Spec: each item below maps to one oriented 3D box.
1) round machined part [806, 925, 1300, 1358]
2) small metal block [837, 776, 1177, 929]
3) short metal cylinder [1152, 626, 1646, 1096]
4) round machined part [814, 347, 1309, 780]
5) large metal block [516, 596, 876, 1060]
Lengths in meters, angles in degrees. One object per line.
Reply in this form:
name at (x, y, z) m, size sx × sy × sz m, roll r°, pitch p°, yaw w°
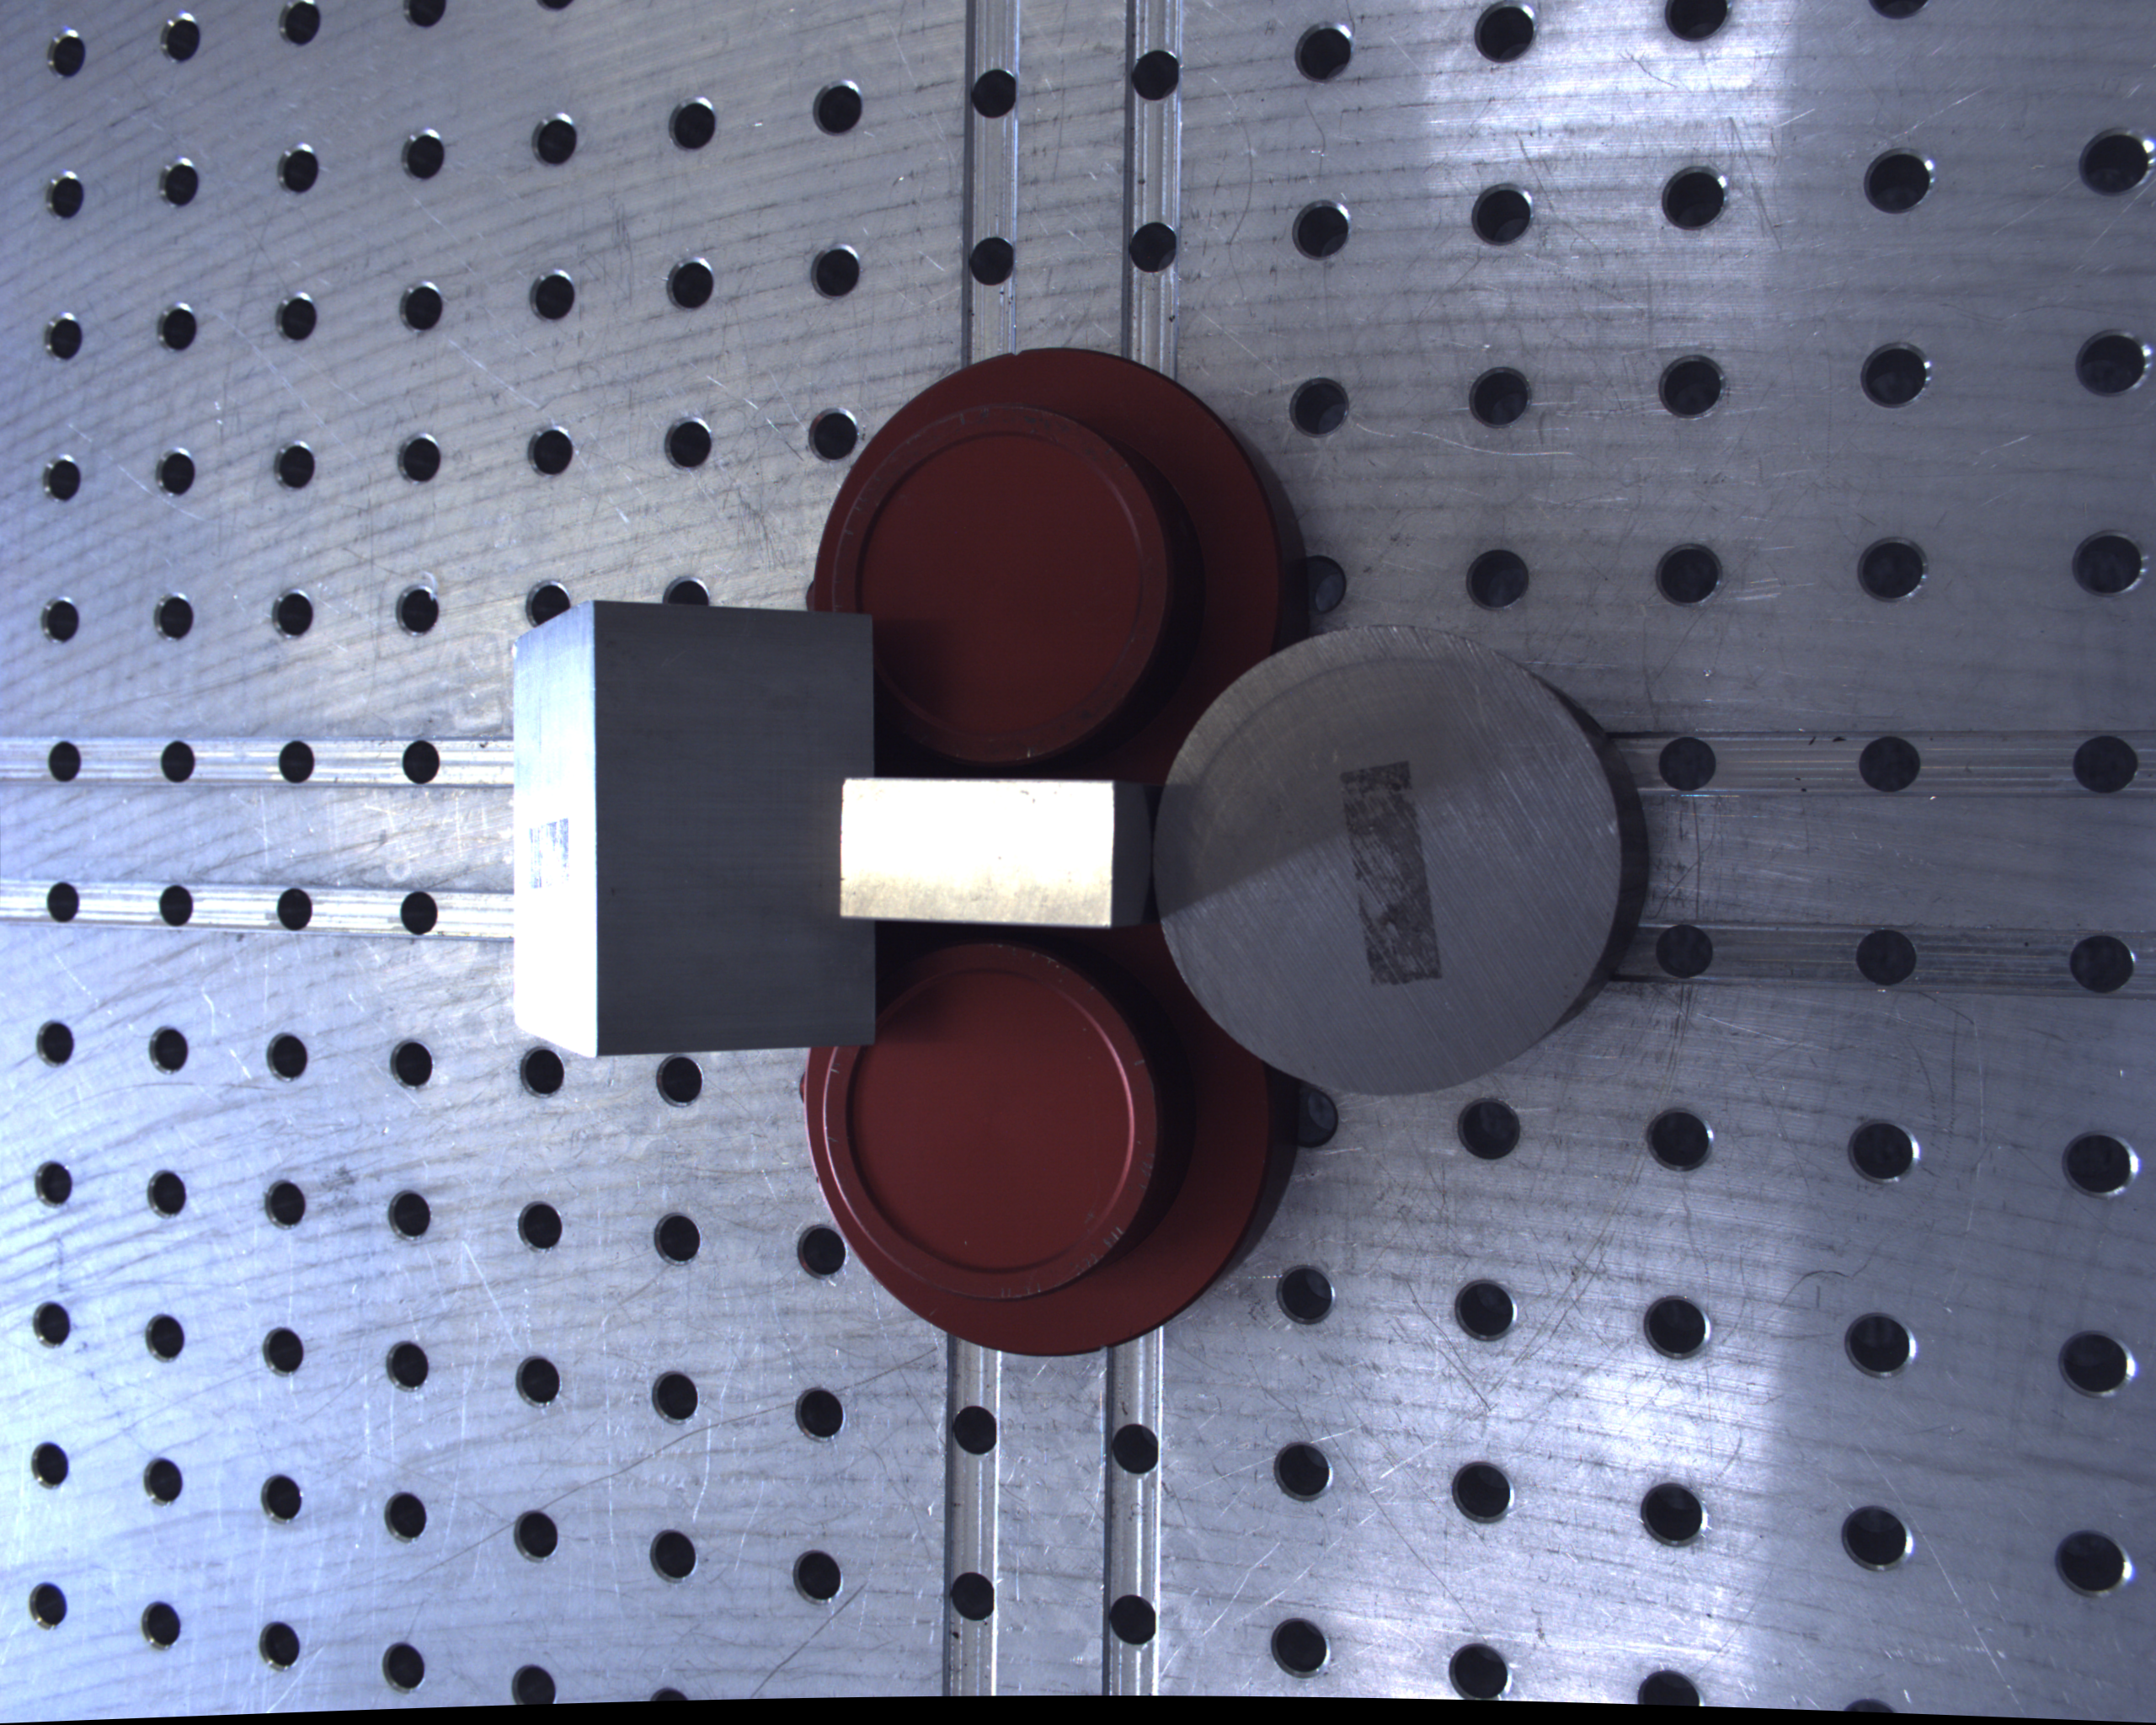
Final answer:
round machined part at (-0.009, 0.048, 0.407) m, size 0.098 × 0.042 × 0.097 m, roll 0°, pitch 90°, yaw 20°
small metal block at (-0.009, -0.002, 0.379) m, size 0.050 × 0.050 × 0.025 m, roll 2°, pitch 91°, yaw 20°
short metal cylinder at (0.059, 0.000, 0.377) m, size 0.080 × 0.050 × 0.080 m, roll 0°, pitch 90°, yaw 20°
round machined part at (-0.008, -0.052, 0.406) m, size 0.098 × 0.042 × 0.097 m, roll 0°, pitch 90°, yaw 20°
large metal block at (-0.077, -0.006, 0.404) m, size 0.050 × 0.080 × 0.080 m, roll 0°, pitch 90°, yaw -25°
